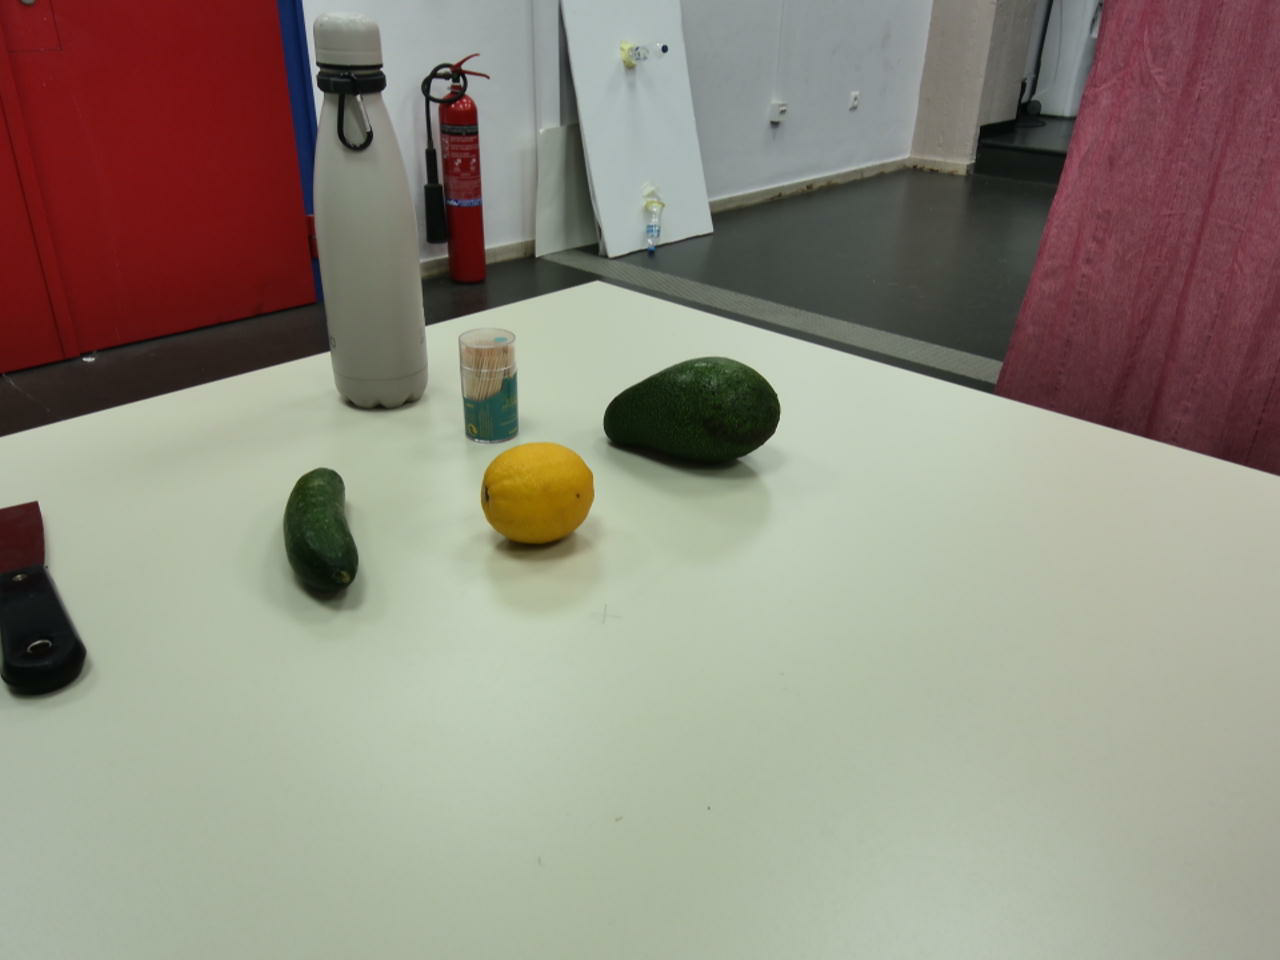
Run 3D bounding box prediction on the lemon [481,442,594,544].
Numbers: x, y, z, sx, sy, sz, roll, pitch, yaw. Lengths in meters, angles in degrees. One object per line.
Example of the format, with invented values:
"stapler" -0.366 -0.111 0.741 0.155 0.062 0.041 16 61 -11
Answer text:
"lemon" -0.060 0.008 0.590 0.067 0.059 0.060 -2 26 -5
